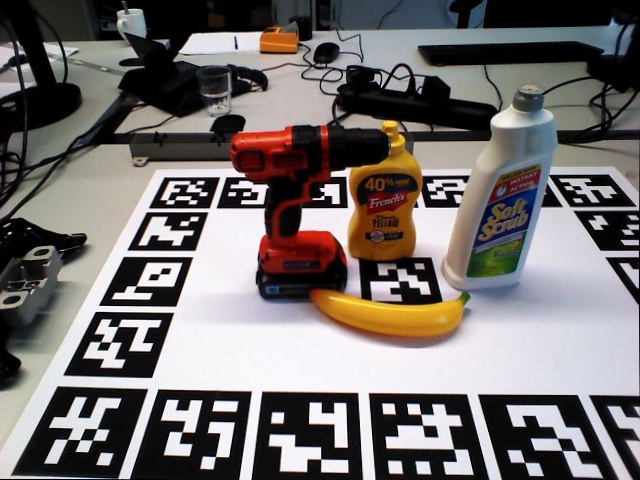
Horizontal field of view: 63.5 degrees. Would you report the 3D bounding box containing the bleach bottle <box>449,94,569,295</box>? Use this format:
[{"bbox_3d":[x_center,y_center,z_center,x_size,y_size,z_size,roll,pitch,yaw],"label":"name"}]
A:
[{"bbox_3d":[0.222,-0.046,0.608,0.103,0.251,0.067,-5,39,-4],"label":"bleach bottle"}]

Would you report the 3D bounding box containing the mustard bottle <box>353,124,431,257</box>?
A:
[{"bbox_3d":[0.094,-0.066,0.673,0.096,0.192,0.058,1,38,2],"label":"mustard bottle"}]

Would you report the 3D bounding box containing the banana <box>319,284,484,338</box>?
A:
[{"bbox_3d":[0.096,0.080,0.607,0.198,0.039,0.074,1,42,6],"label":"banana"}]

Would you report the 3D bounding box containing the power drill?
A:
[{"bbox_3d":[-0.010,-0.044,0.620,0.185,0.187,0.057,0,32,-1],"label":"power drill"}]
